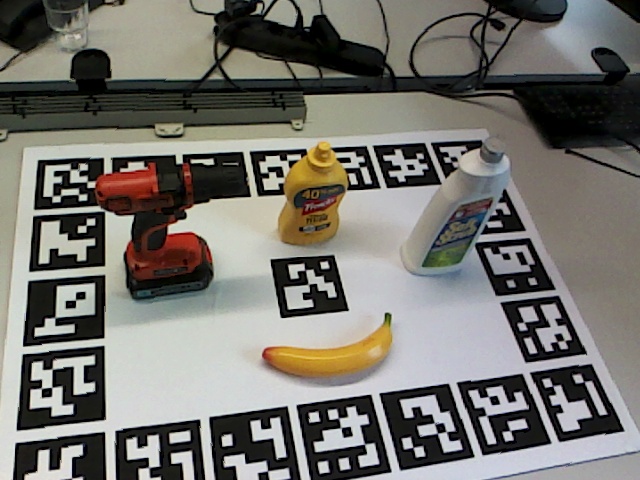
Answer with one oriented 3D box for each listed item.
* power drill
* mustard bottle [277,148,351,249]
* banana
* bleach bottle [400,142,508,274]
[{"bbox_3d":[-0.175,-0.030,0.823,0.184,0.186,0.057,-11,57,-13],"label":"power drill"},{"bbox_3d":[-0.005,-0.063,0.915,0.096,0.191,0.059,-10,57,-19],"label":"mustard bottle"},{"bbox_3d":[0.023,0.148,0.847,0.197,0.039,0.074,-10,58,-13],"label":"banana"},{"bbox_3d":[0.197,-0.044,0.895,0.102,0.250,0.068,3,54,-9],"label":"bleach bottle"}]
